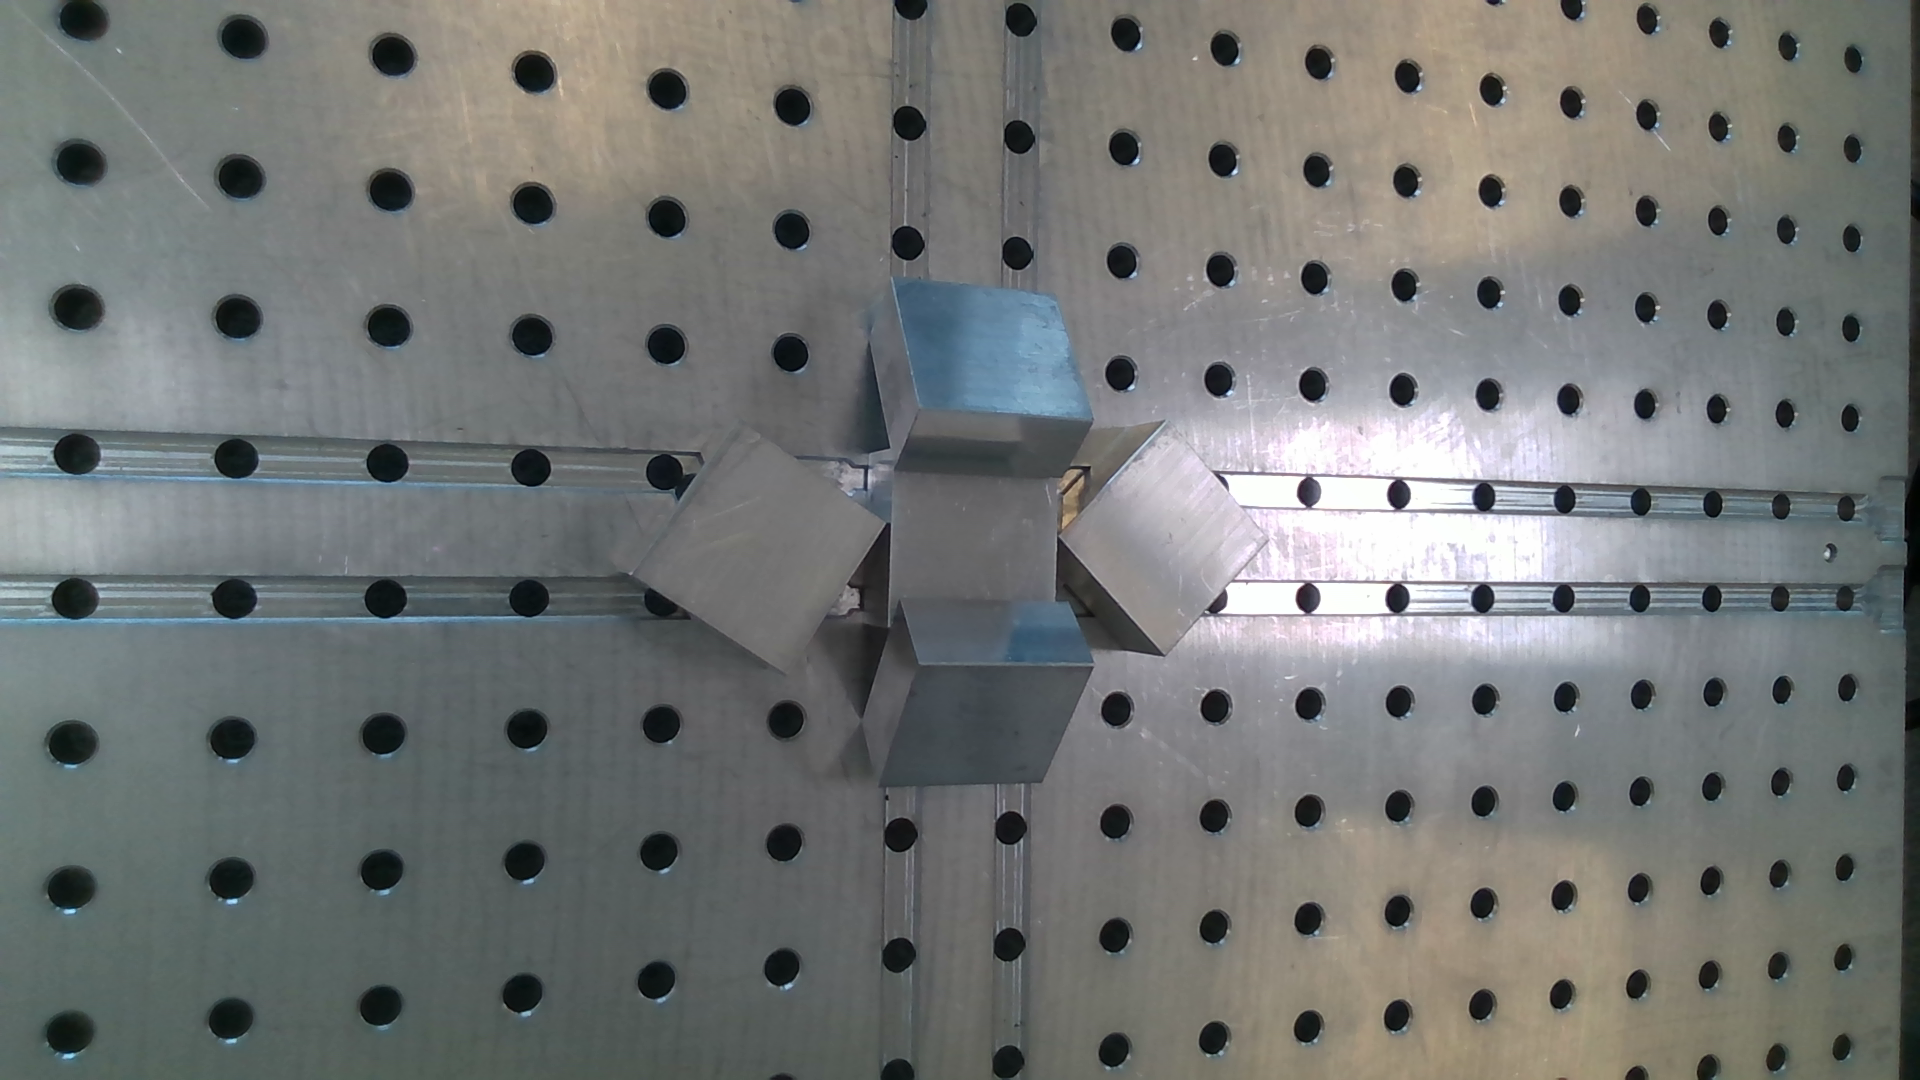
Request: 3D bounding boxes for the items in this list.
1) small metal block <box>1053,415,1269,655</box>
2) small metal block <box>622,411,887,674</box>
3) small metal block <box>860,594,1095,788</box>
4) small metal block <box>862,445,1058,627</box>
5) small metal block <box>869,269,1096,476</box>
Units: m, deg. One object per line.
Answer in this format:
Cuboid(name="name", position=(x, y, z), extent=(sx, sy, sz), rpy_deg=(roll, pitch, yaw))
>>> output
Cuboid(name="small metal block", position=(0.056, -0.001, 0.417), extent=(0.050, 0.025, 0.050), rpy_deg=(-46, 105, -15))
Cuboid(name="small metal block", position=(-0.057, 0.001, 0.375), extent=(0.050, 0.025, 0.050), rpy_deg=(36, 77, -16))
Cuboid(name="small metal block", position=(0.003, 0.043, 0.383), extent=(0.050, 0.025, 0.050), rpy_deg=(3, 130, -20))
Cuboid(name="small metal block", position=(0.000, -0.001, 0.396), extent=(0.050, 0.025, 0.050), rpy_deg=(1, 90, -21))
Cuboid(name="small metal block", position=(0.005, -0.047, 0.385), extent=(0.050, 0.025, 0.050), rpy_deg=(2, 53, -19))
